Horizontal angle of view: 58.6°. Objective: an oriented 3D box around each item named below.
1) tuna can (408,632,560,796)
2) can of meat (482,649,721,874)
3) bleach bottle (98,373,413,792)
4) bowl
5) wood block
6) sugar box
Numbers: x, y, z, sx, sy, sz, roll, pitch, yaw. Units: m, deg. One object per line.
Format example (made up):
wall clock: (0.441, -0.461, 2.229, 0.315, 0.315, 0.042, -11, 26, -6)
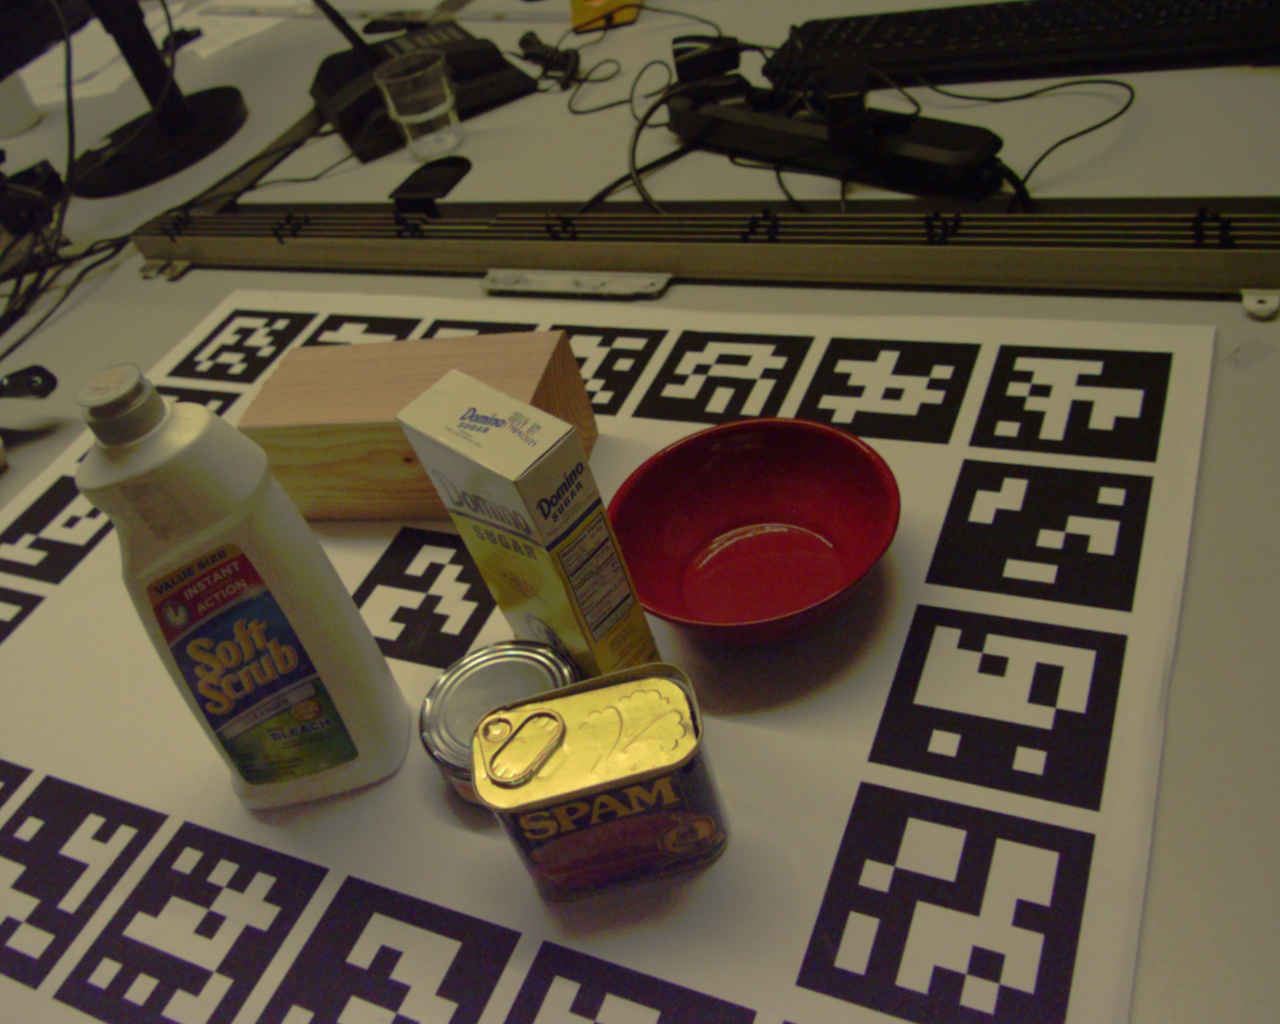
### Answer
tuna can: (-0.079, 0.109, 0.616, 0.086, 0.033, 0.086, -12, 44, 11)
can of meat: (-0.016, 0.122, 0.551, 0.102, 0.083, 0.058, -14, 38, 2)
bleach bottle: (-0.202, 0.040, 0.578, 0.103, 0.249, 0.068, -12, 40, 7)
bowl: (0.064, 0.014, 0.655, 0.162, 0.055, 0.162, -14, 39, 11)
wood block: (-0.156, -0.054, 0.788, 0.208, 0.089, 0.091, 0, 48, 19)
sugar box: (-0.052, 0.018, 0.598, 0.094, 0.175, 0.045, 24, 58, 42)
